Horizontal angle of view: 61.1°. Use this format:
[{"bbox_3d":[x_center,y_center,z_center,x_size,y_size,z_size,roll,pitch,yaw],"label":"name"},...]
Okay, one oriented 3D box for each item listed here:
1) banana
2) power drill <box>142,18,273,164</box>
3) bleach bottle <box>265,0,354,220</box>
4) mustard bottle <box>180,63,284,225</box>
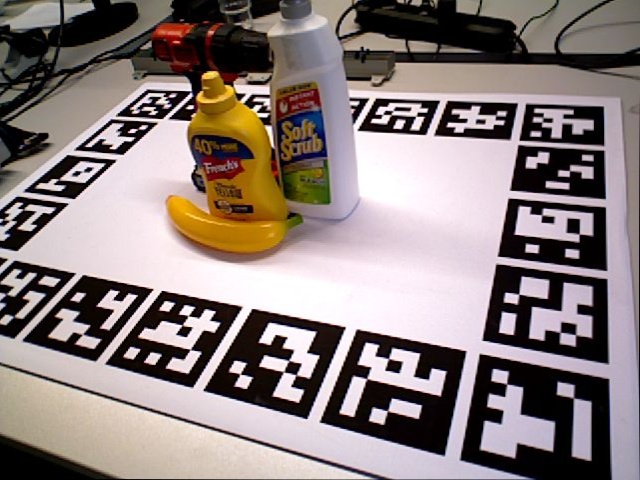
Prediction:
[{"bbox_3d":[-0.118,-0.017,0.640,0.198,0.039,0.072,11,47,27],"label":"banana"},{"bbox_3d":[-0.116,-0.165,0.640,0.185,0.190,0.056,20,49,29],"label":"power drill"},{"bbox_3d":[-0.019,-0.144,0.587,0.103,0.256,0.066,11,41,24],"label":"bleach bottle"},{"bbox_3d":[-0.101,-0.098,0.594,0.096,0.195,0.057,10,46,21],"label":"mustard bottle"}]
